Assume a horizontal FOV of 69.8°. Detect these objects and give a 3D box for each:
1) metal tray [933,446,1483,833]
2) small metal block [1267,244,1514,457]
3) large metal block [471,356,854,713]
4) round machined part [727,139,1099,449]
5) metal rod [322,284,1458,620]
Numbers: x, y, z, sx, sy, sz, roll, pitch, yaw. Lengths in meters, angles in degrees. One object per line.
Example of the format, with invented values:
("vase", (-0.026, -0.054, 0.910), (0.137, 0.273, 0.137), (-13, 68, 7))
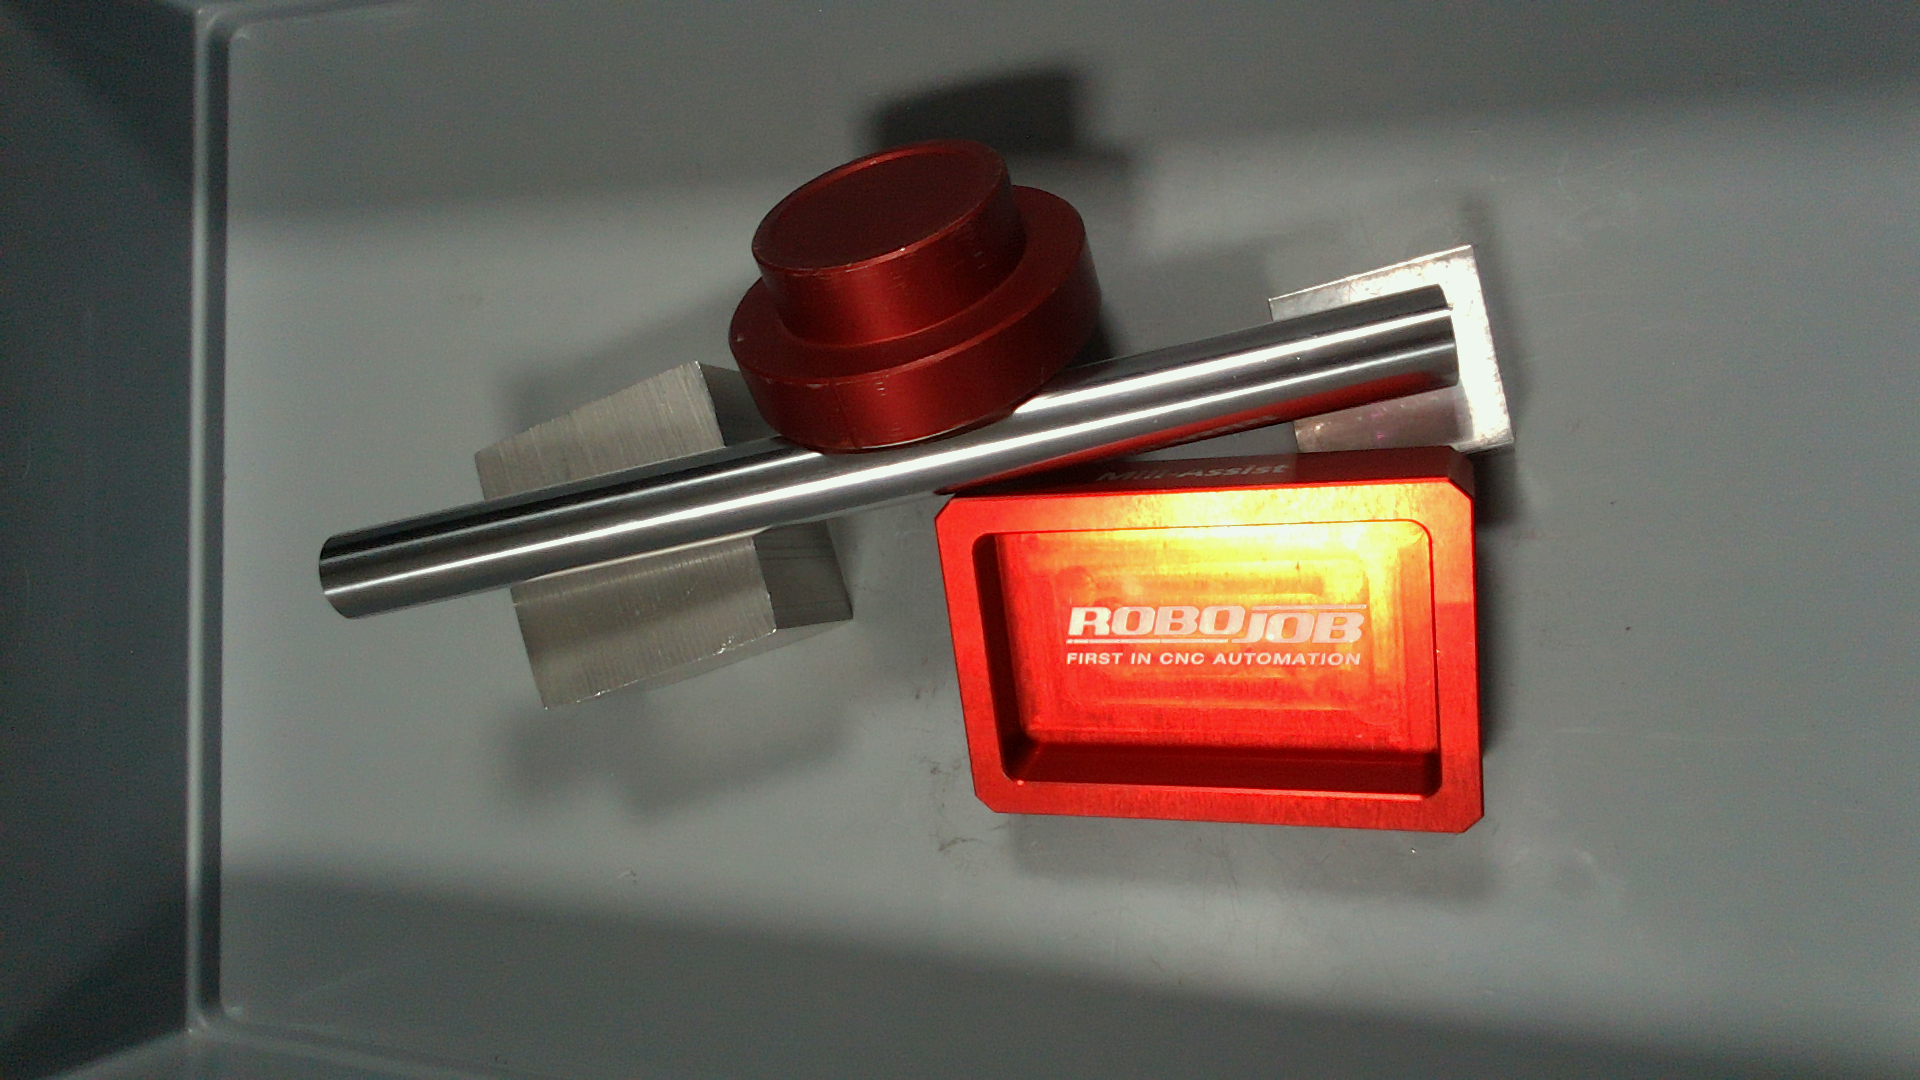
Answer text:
("metal tray", (0.064, 0.026, 0.354), (0.130, 0.030, 0.090), (-2, 109, 19))
("small metal block", (0.111, -0.043, 0.354), (0.050, 0.025, 0.050), (-12, 86, 20))
("large metal block", (-0.088, -0.001, 0.412), (0.080, 0.050, 0.080), (-19, 84, 19))
("round machined part", (-0.015, -0.070, 0.359), (0.098, 0.098, 0.042), (-5, 129, 20))
("metal rod", (-0.029, -0.019, 0.357), (0.299, 0.025, 0.025), (-12, 86, 12))
